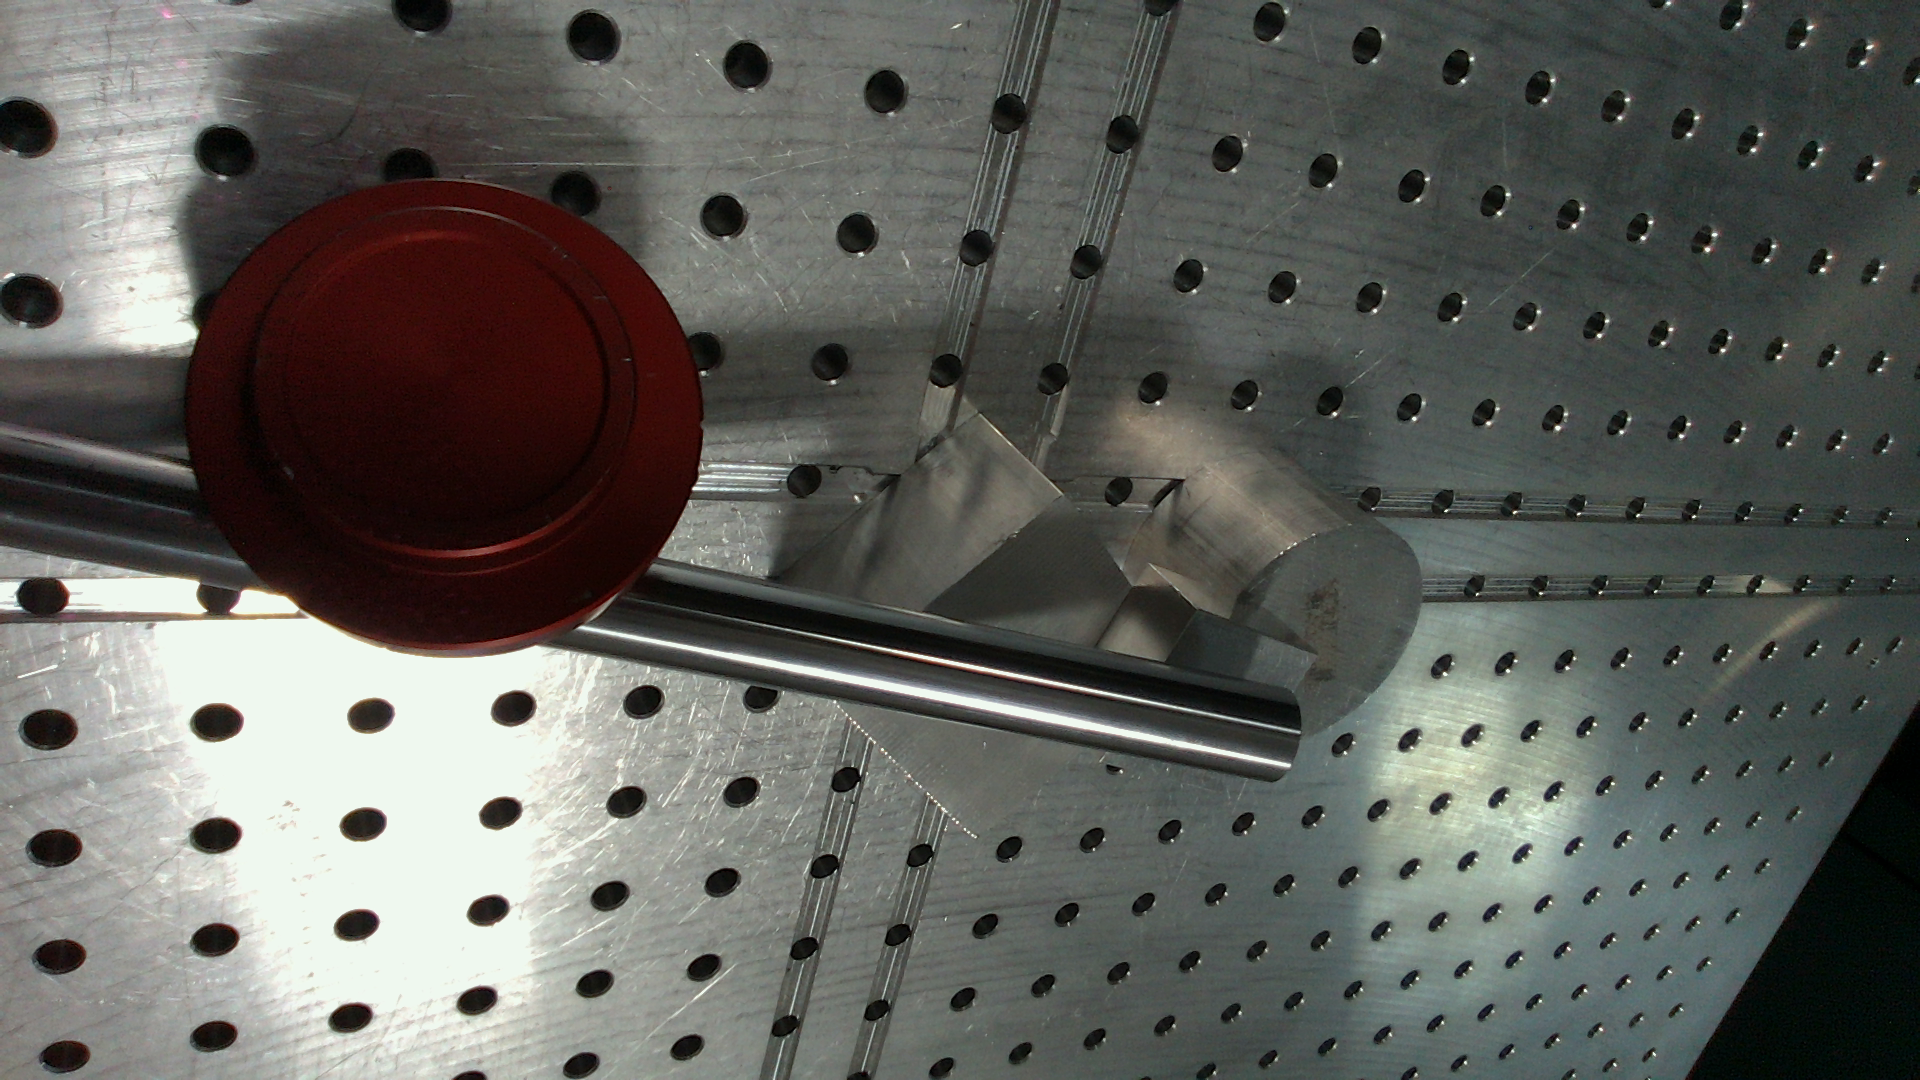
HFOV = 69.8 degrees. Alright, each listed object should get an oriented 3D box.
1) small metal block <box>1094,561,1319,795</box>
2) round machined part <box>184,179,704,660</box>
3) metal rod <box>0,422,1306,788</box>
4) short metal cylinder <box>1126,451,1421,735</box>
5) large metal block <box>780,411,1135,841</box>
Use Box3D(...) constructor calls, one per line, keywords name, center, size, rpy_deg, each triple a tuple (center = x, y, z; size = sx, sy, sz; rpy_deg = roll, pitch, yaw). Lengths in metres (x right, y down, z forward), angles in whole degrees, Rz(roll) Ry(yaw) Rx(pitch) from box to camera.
Box3D(name="small metal block", center=(0.063, 0.039, 0.383), size=(0.050, 0.025, 0.050), rpy_deg=(20, 108, -36))
Box3D(name="round machined part", center=(-0.101, -0.027, 0.276), size=(0.098, 0.042, 0.098), rpy_deg=(3, 79, -17))
Box3D(name="metal rod", center=(-0.059, 0.020, 0.316), size=(0.301, 0.025, 0.025), rpy_deg=(13, 113, -15))
Box3D(name="short metal cylinder", center=(0.099, 0.019, 0.441), size=(0.080, 0.050, 0.080), rpy_deg=(-14, 124, -21))
Box3D(name="large metal block", center=(0.006, 0.025, 0.392), size=(0.080, 0.050, 0.080), rpy_deg=(-40, 129, -1))
